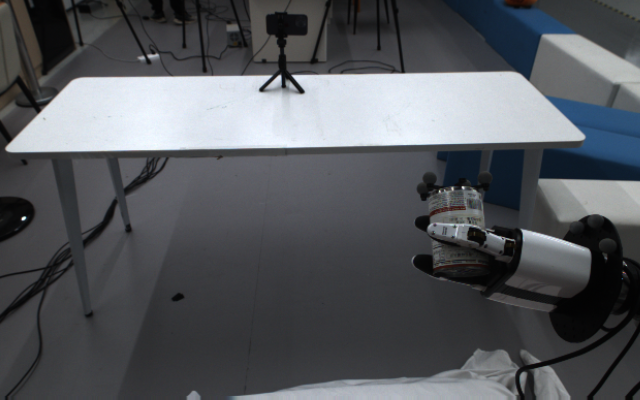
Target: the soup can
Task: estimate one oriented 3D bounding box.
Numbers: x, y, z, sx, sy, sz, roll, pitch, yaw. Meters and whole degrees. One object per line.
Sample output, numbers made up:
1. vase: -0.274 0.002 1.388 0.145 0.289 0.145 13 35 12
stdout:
1. soup can: 0.173 0.041 0.602 0.067 0.067 0.101 1 73 -2
